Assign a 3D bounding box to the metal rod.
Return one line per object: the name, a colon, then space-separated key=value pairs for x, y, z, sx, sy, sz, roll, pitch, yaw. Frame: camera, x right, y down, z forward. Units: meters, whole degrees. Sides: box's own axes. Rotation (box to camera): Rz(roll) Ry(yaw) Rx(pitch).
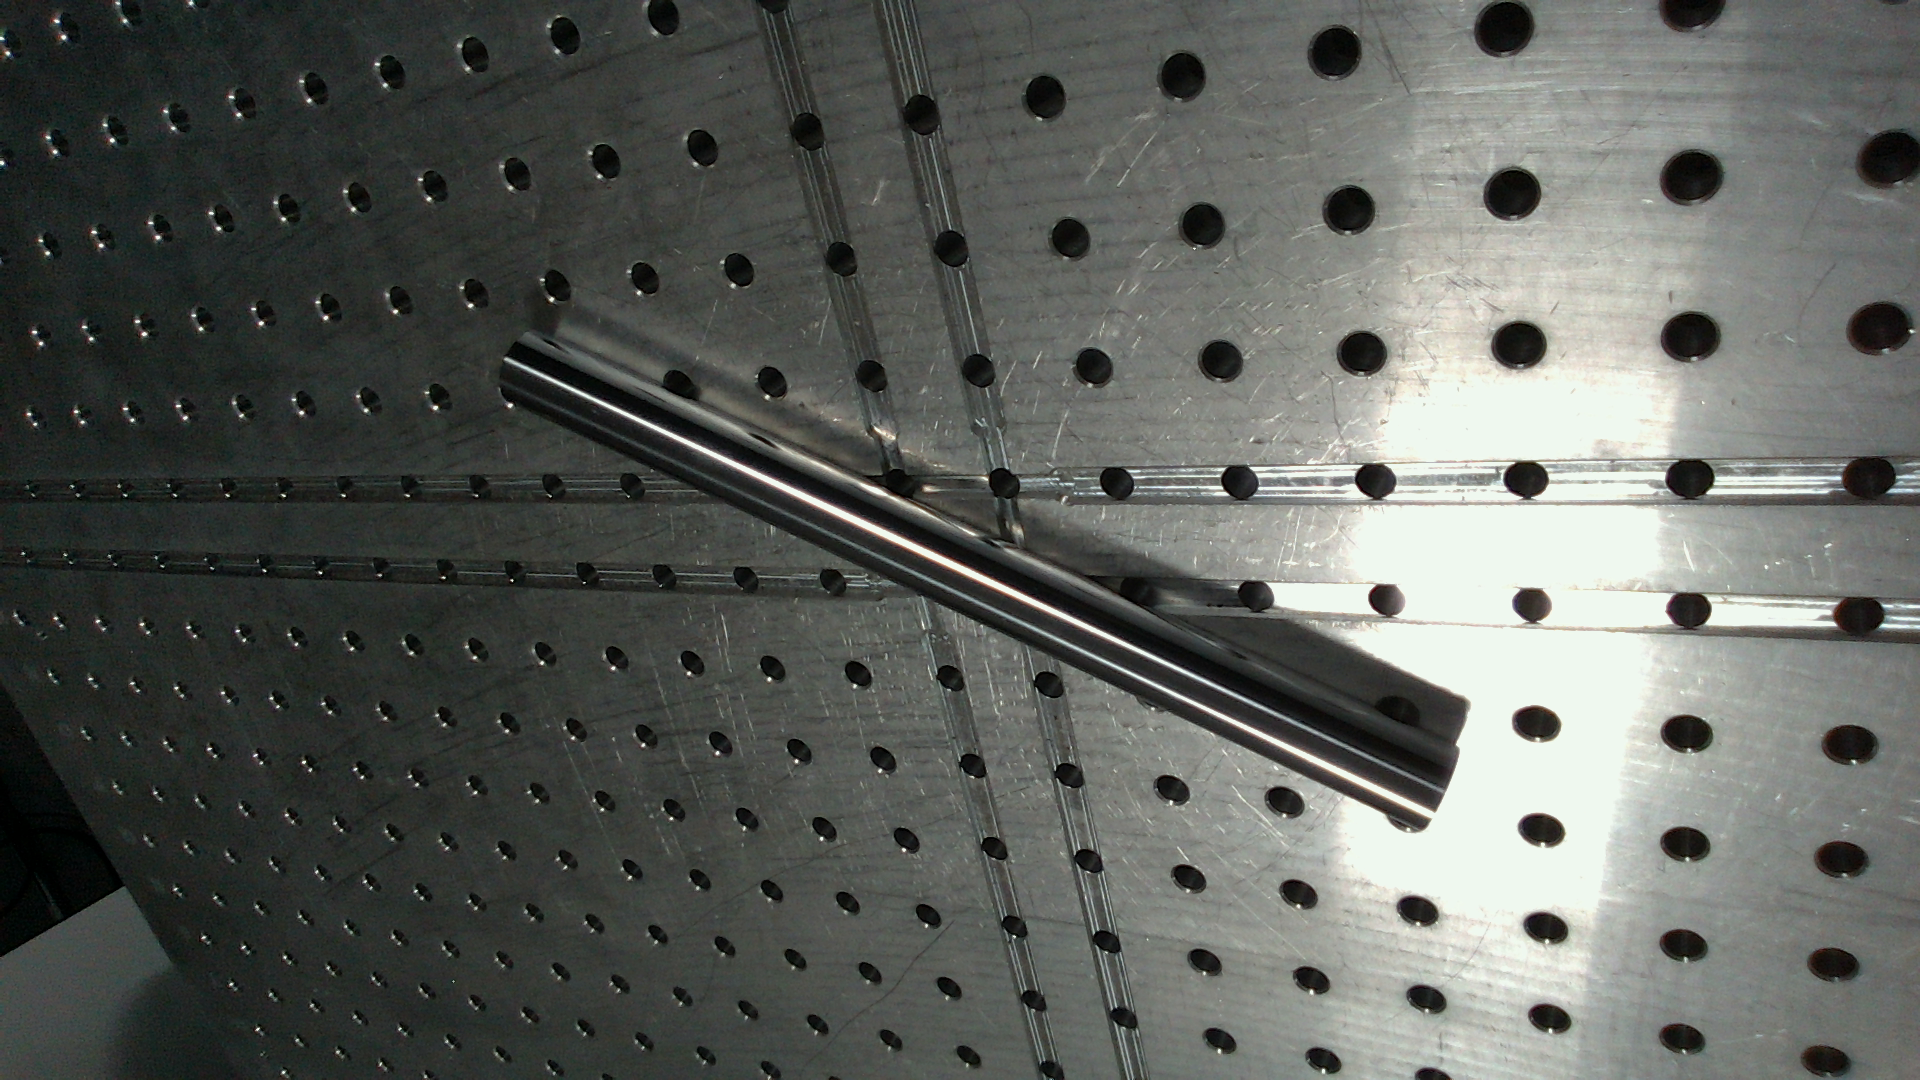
metal rod: x=-0.004 y=0.006 z=0.402 sx=0.299 sy=0.025 sz=0.025 roll=24 pitch=127 yaw=13
